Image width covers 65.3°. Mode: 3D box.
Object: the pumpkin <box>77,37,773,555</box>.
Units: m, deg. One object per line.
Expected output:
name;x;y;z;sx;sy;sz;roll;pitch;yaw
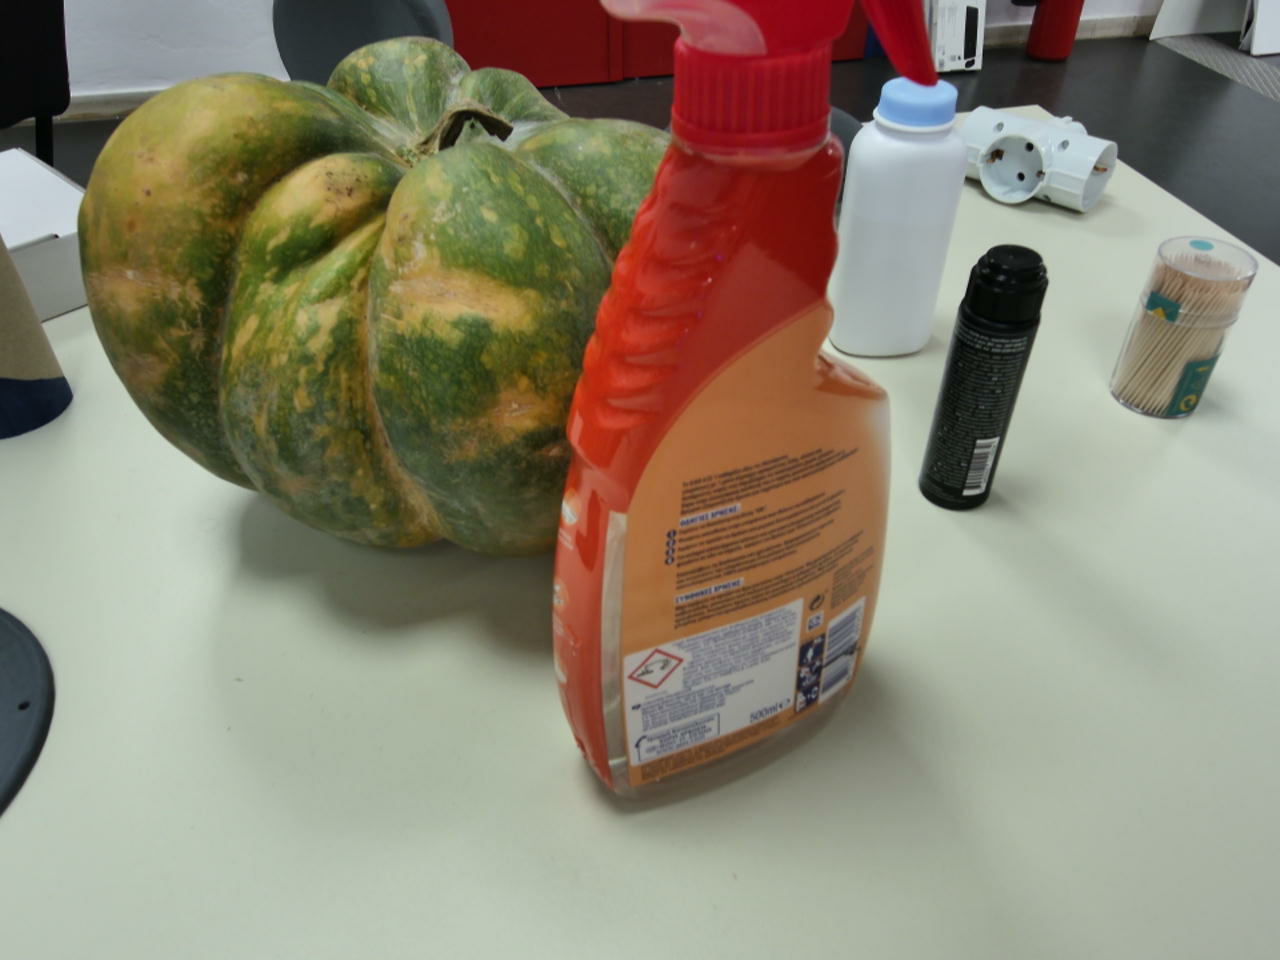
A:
pumpkin;-0.076;-0.081;0.401;0.270;0.173;0.237;15;41;18
